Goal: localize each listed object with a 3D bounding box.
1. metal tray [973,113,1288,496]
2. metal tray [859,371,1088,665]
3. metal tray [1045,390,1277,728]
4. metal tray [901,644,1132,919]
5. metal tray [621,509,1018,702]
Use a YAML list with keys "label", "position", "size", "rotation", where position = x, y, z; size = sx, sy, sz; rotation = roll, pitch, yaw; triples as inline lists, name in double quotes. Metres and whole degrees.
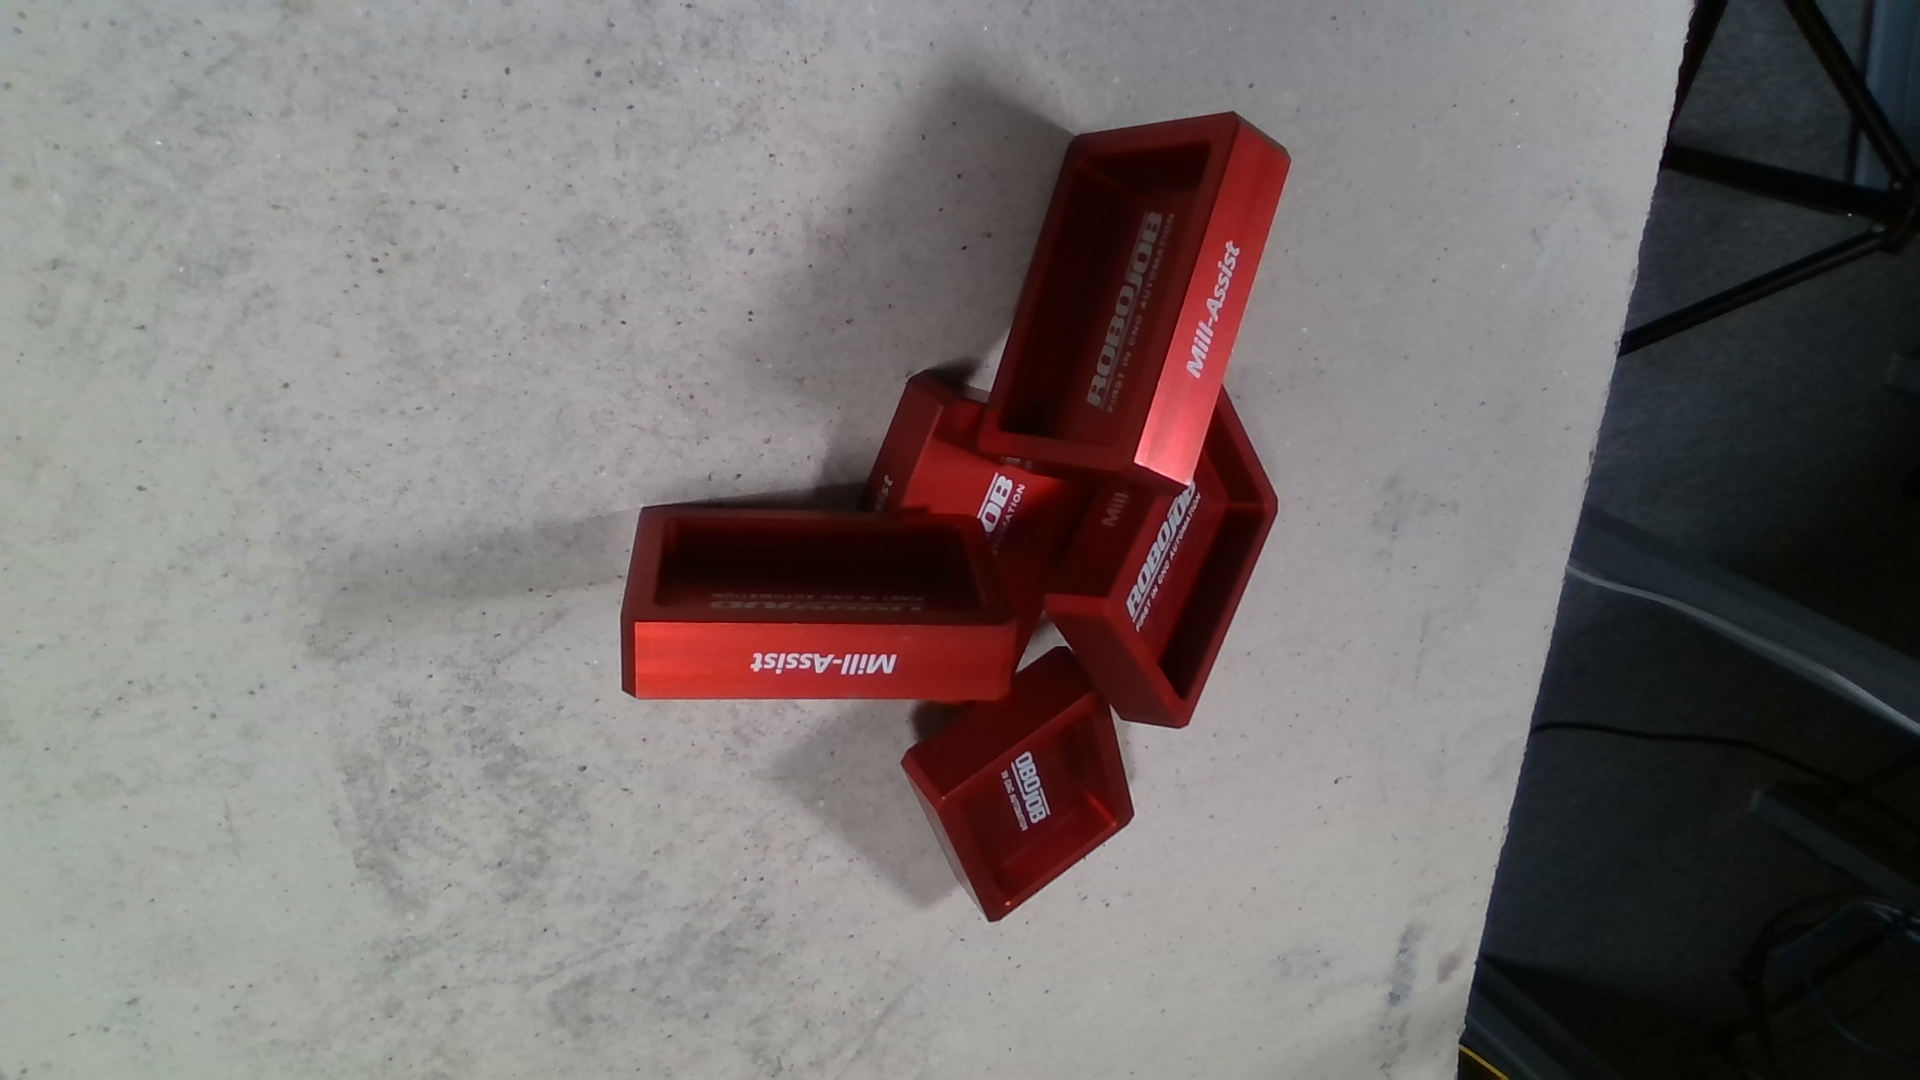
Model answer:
- label: "metal tray"
  position: [0.060, -0.087, 0.509]
  size: [0.030, 0.090, 0.130]
  rotation: [20, 87, -37]
- label: "metal tray"
  position: [-0.001, 0.003, 0.578]
  size: [0.090, 0.030, 0.130]
  rotation: [12, 108, -36]
- label: "metal tray"
  position: [0.091, 0.004, 0.598]
  size: [0.090, 0.030, 0.130]
  rotation: [54, 53, -39]
- label: "metal tray"
  position: [0.031, 0.115, 0.637]
  size: [0.090, 0.030, 0.130]
  rotation: [-34, 142, -12]
- label: "metal tray"
  position: [-0.052, 0.021, 0.494]
  size: [0.130, 0.090, 0.030]
  rotation: [1, 115, -9]
